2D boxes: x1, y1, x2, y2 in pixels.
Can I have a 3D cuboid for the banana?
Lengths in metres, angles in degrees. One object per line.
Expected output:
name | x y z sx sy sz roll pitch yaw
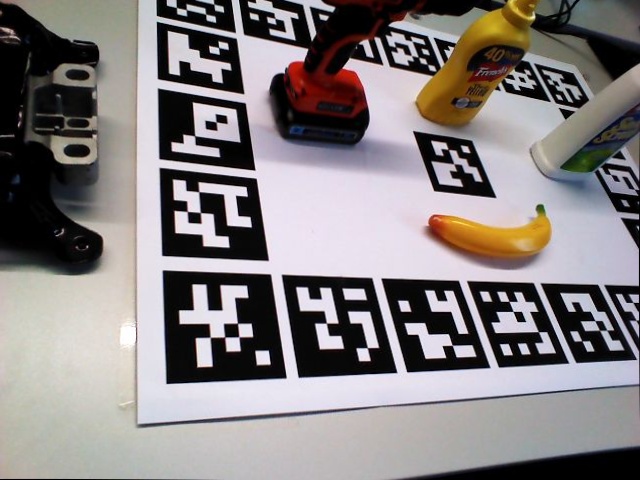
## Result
banana | 0.227 -0.011 0.623 0.197 0.039 0.074 -4 63 -24

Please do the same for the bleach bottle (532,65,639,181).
bleach bottle | 0.414 -0.181 0.696 0.102 0.252 0.067 10 56 -20

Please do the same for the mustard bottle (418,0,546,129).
mustard bottle | 0.217 -0.228 0.673 0.096 0.193 0.058 -5 62 -30

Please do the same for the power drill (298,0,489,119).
power drill | 0.066 -0.211 0.550 0.184 0.188 0.057 -5 62 -24
